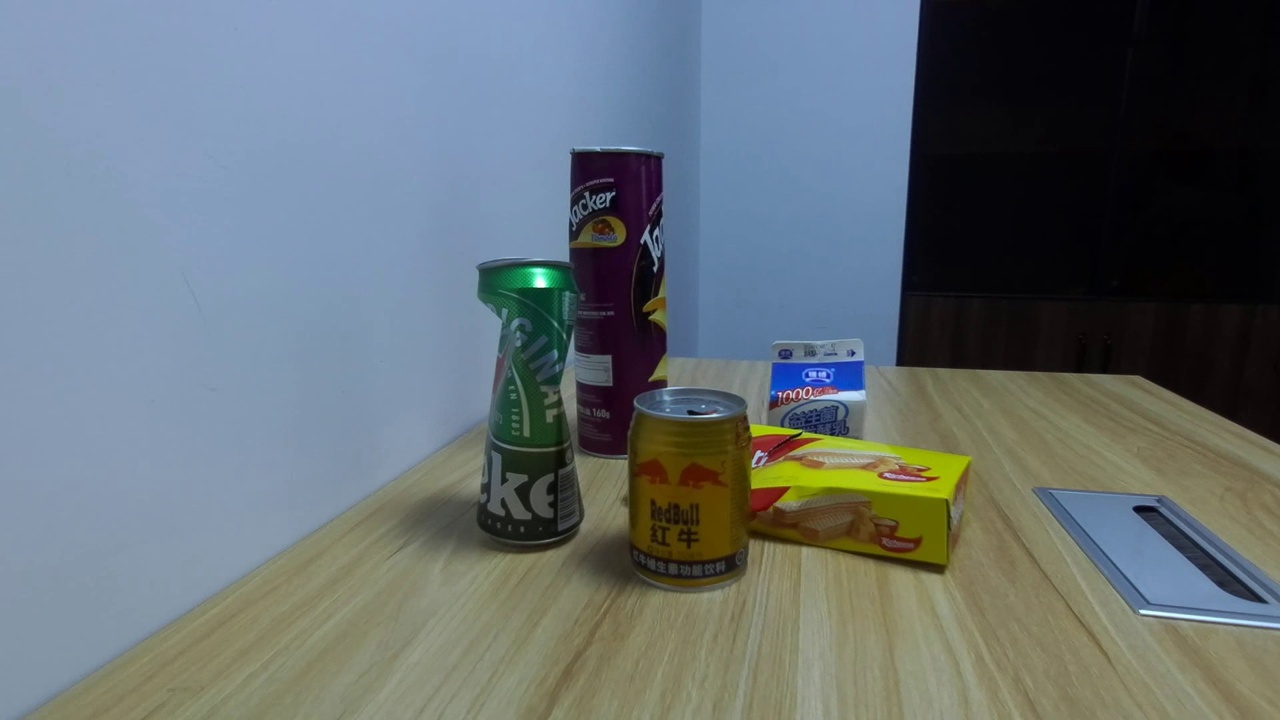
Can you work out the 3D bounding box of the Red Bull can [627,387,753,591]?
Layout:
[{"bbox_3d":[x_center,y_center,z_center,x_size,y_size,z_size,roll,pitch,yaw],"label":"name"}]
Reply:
[{"bbox_3d":[0.027,0.066,0.380,0.067,0.093,0.067,1,12,0],"label":"Red Bull can"}]

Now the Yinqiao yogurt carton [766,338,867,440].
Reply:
[{"bbox_3d":[0.138,0.028,0.561,0.075,0.092,0.074,1,14,10],"label":"Yinqiao yogurt carton"}]

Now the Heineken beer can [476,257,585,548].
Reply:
[{"bbox_3d":[-0.066,0.025,0.417,0.066,0.164,0.078,4,8,18],"label":"Heineken beer can"}]

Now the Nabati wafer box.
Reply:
[{"bbox_3d":[0.095,0.077,0.452,0.203,0.042,0.107,6,12,29],"label":"Nabati wafer box"}]

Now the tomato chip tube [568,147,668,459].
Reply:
[{"bbox_3d":[-0.015,-0.045,0.567,0.078,0.235,0.076,-2,11,-4],"label":"tomato chip tube"}]
